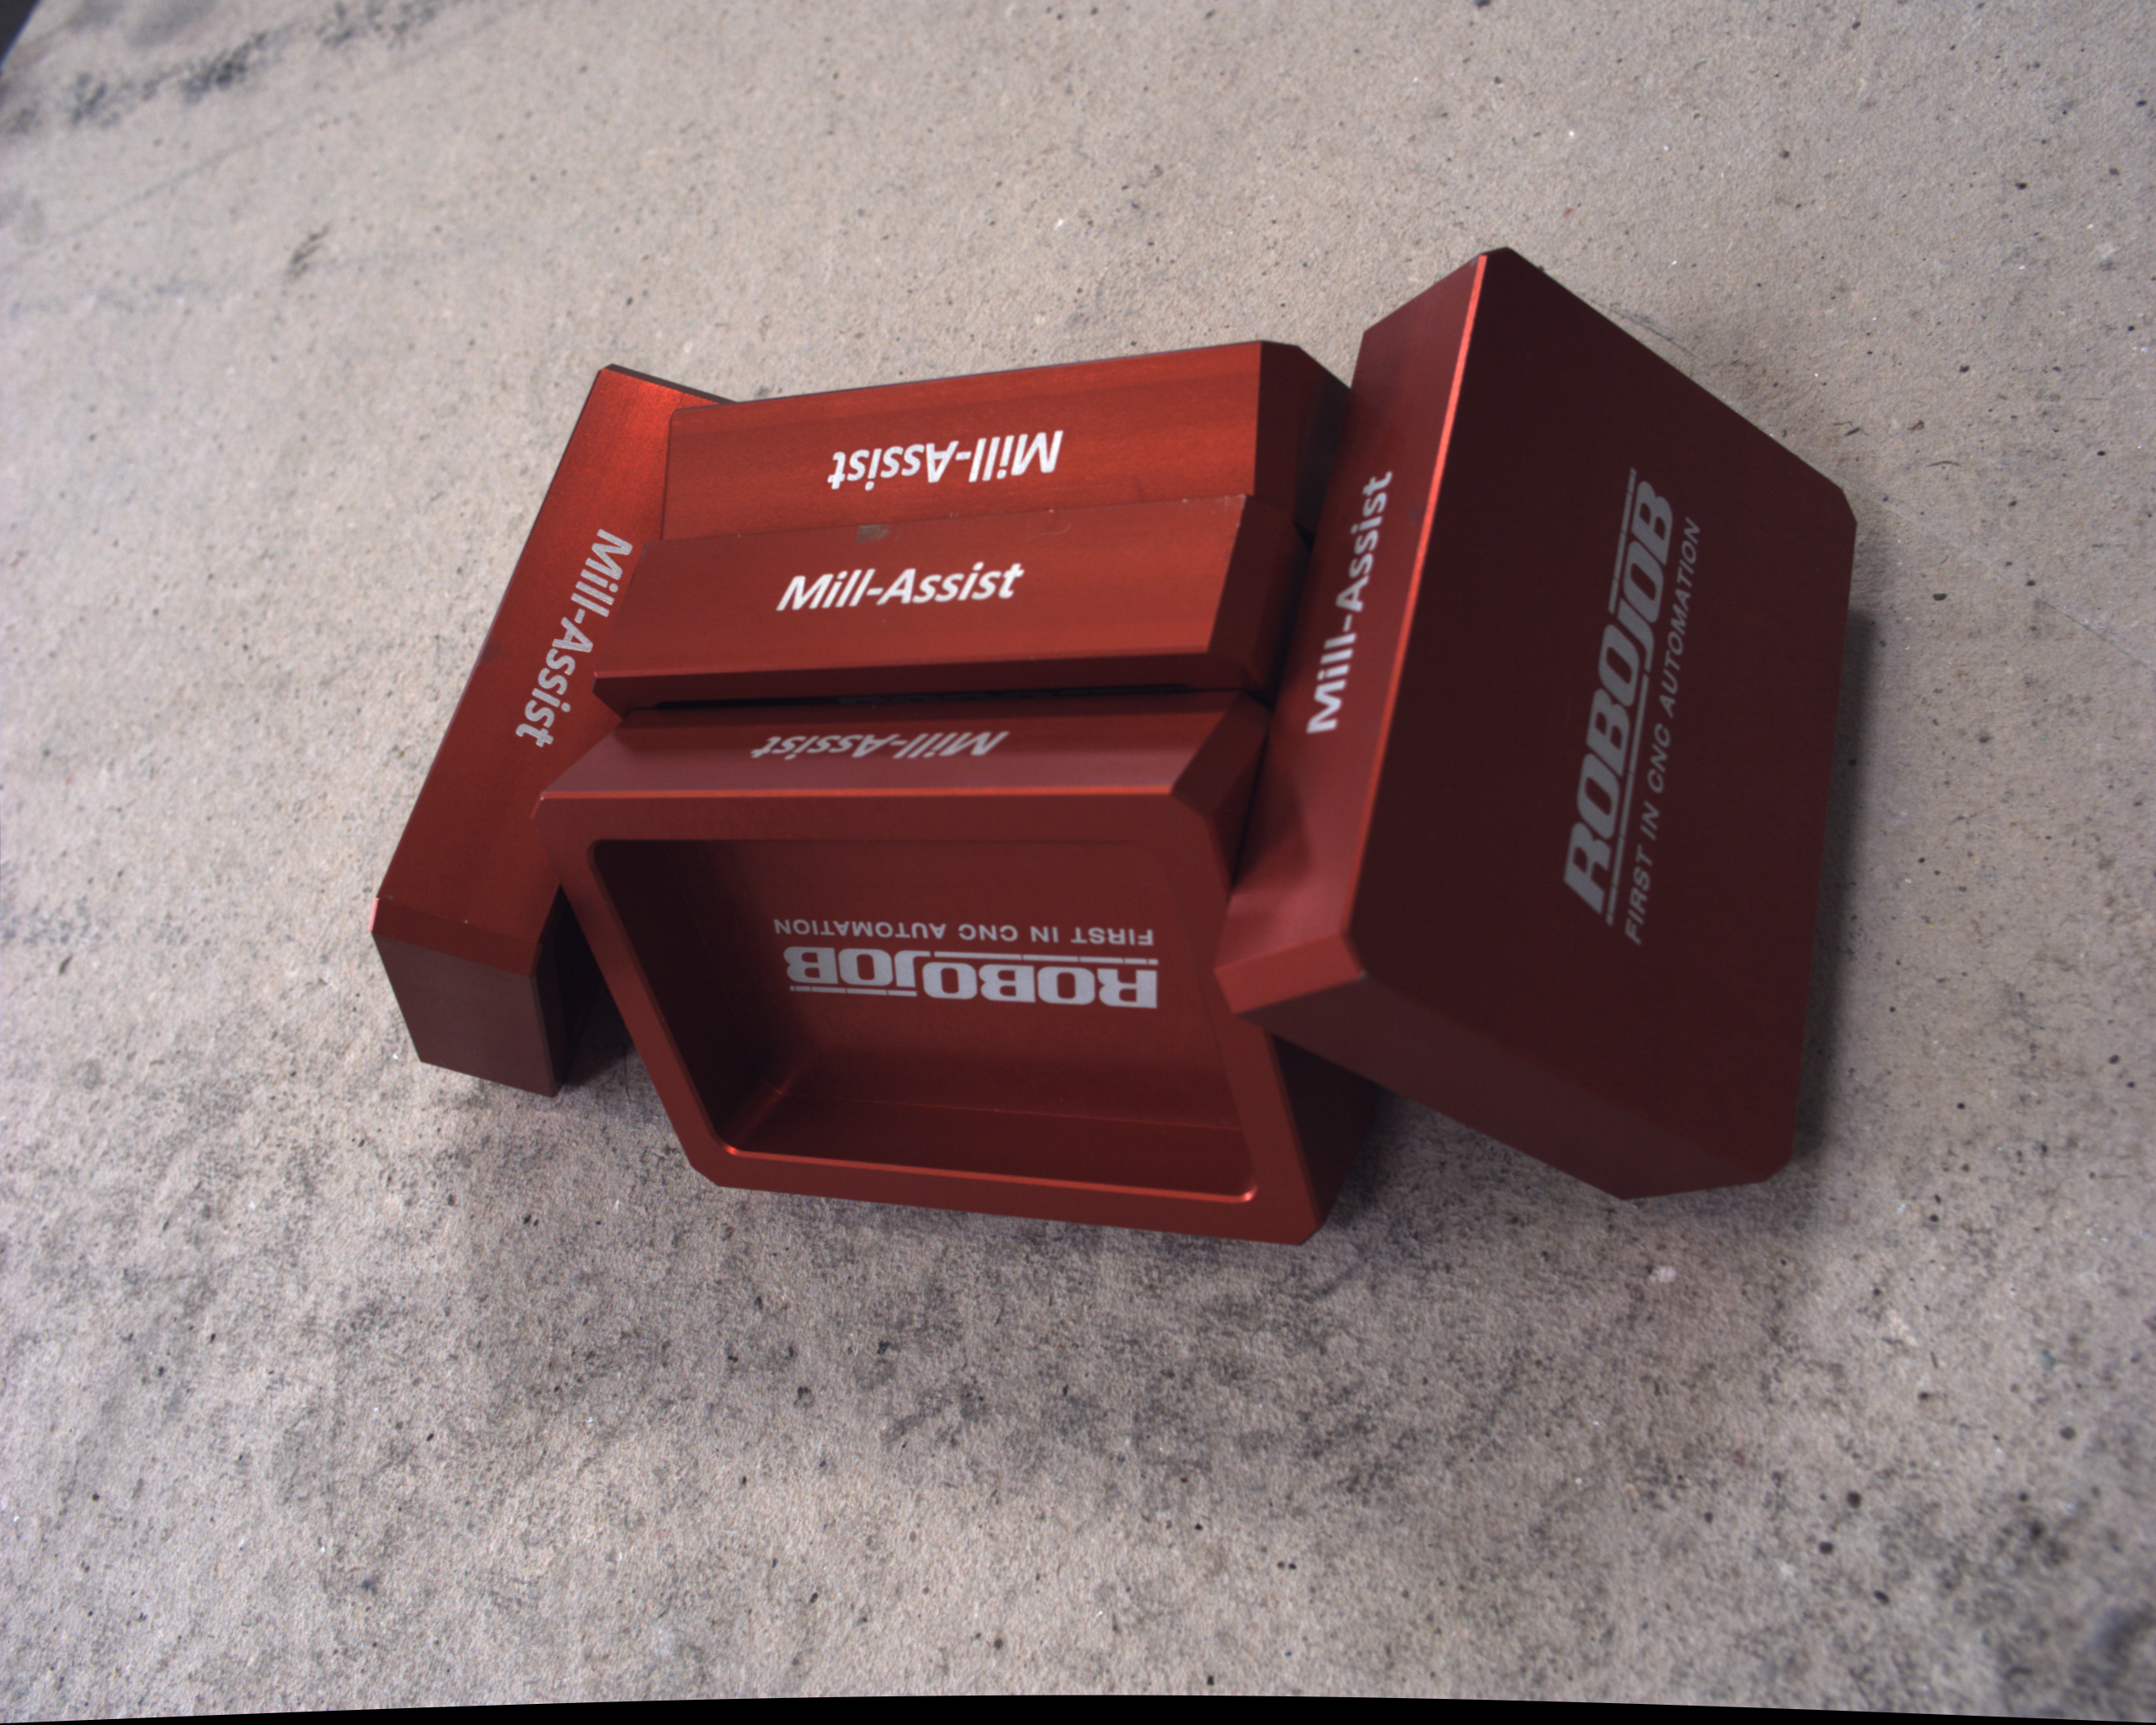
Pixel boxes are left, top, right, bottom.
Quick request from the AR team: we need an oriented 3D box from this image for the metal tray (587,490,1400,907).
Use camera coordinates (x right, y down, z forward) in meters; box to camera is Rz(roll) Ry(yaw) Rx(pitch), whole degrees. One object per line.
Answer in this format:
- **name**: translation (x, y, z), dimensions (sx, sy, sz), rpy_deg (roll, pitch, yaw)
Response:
- **metal tray**: translation (-0.012, -0.026, 0.385), dimensions (0.130, 0.090, 0.030), rpy_deg (0, 62, 28)

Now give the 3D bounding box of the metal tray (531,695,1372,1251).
- **metal tray**: translation (-0.022, 0.018, 0.363), dimensions (0.130, 0.090, 0.030), rpy_deg (1, 33, 28)

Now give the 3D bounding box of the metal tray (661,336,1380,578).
- **metal tray**: translation (-0.003, -0.066, 0.403), dimensions (0.130, 0.090, 0.030), rpy_deg (1, 84, 28)

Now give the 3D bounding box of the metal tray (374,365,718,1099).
- **metal tray**: translation (-0.103, -0.025, 0.435), dimensions (0.030, 0.090, 0.130), rpy_deg (17, 65, -4)

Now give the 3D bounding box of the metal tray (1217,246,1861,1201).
- **metal tray**: translation (0.079, -0.022, 0.334), dimensions (0.030, 0.090, 0.130), rpy_deg (-24, 45, 54)
